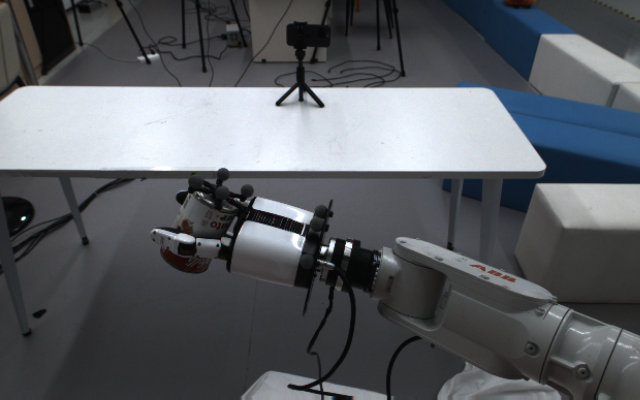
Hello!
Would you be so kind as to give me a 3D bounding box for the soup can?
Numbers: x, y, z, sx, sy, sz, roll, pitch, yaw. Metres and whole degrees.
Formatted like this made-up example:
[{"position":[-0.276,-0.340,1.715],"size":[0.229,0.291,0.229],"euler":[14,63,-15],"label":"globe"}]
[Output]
[{"position":[-0.155,0.037,0.629],"size":[0.067,0.101,0.067],"euler":[28,18,-10],"label":"soup can"}]
